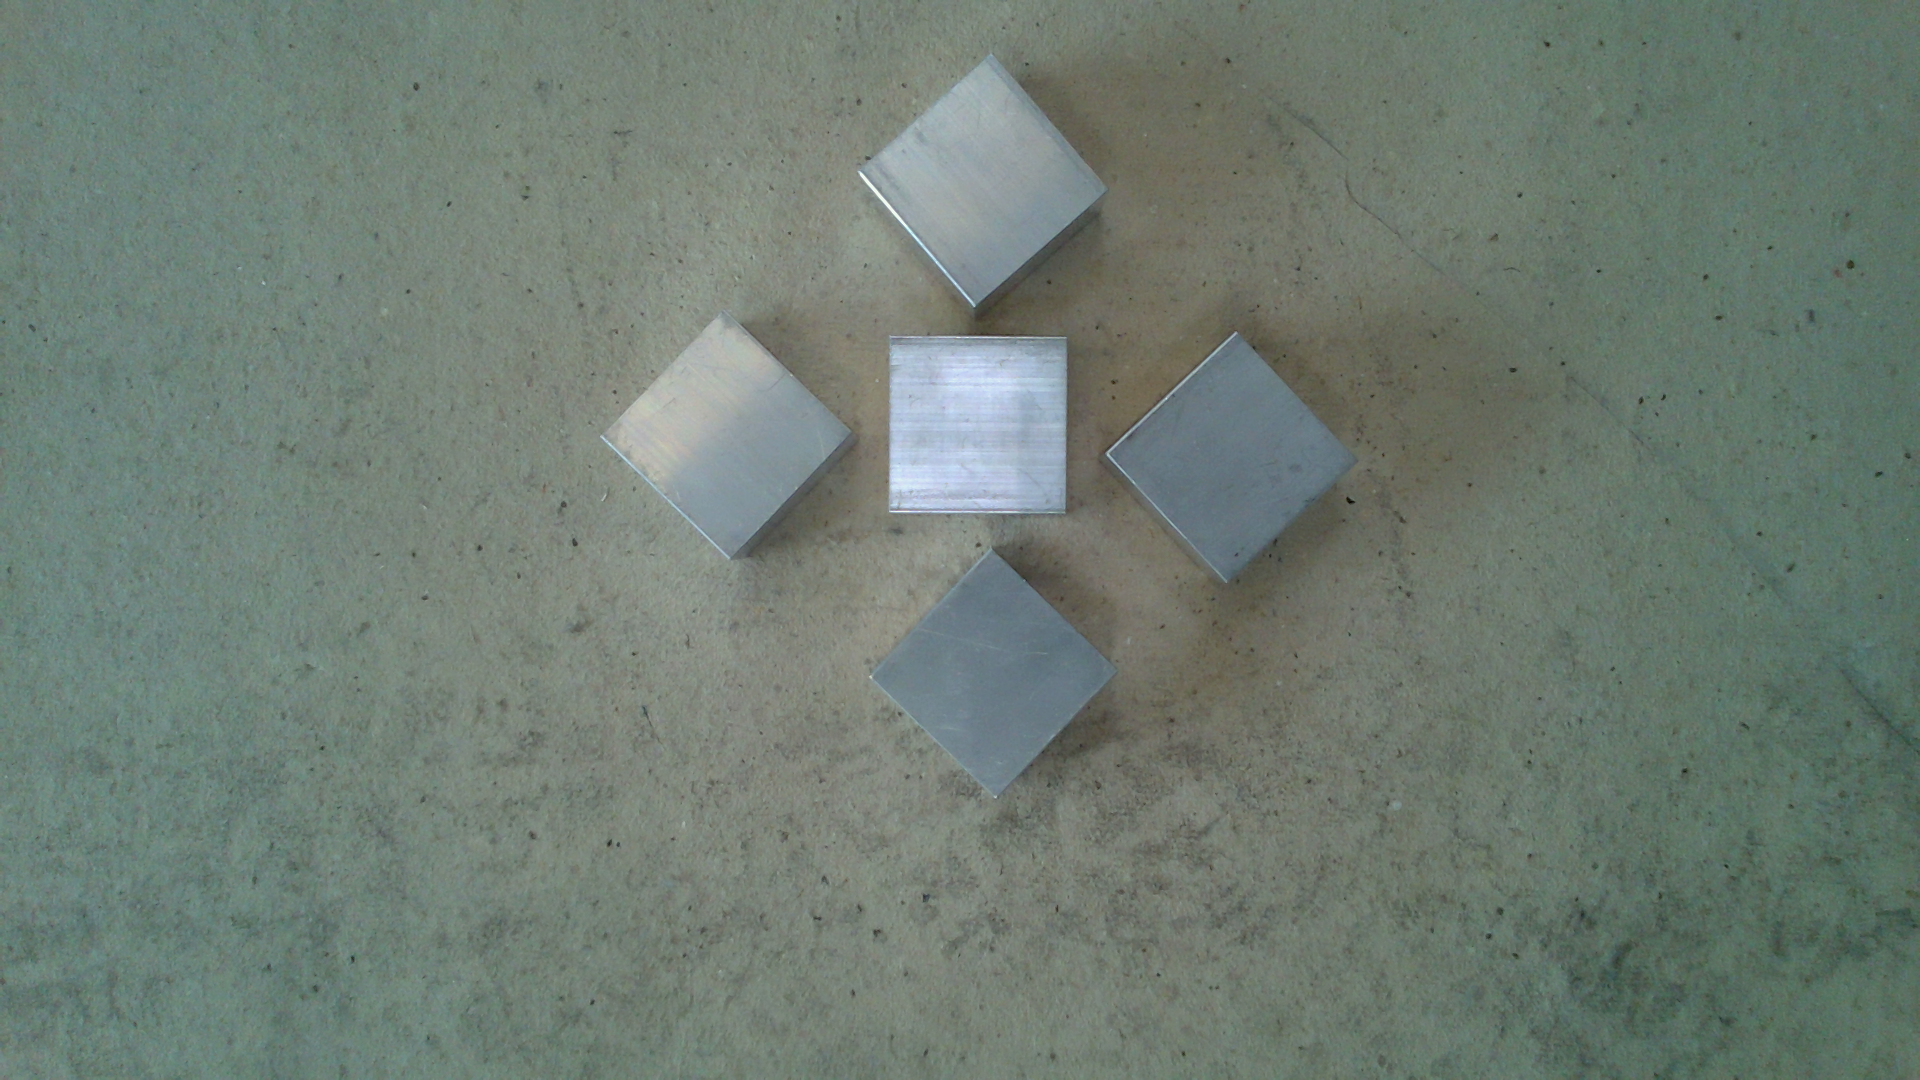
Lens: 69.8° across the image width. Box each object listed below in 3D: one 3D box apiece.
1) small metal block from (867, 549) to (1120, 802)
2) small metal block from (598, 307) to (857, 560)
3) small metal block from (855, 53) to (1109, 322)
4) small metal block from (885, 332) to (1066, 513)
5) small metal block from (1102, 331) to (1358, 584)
[{"bbox_3d":[0.009,0.038,0.396,0.050,0.025,0.050,44,89,-1],"label":"small metal block"},{"bbox_3d":[-0.066,-0.030,0.395,0.050,0.025,0.050,43,89,0],"label":"small metal block"},{"bbox_3d":[0.006,-0.100,0.395,0.050,0.025,0.050,-41,90,-1],"label":"small metal block"},{"bbox_3d":[0.005,-0.033,0.395,0.050,0.025,0.050,0,90,0],"label":"small metal block"},{"bbox_3d":[0.076,-0.023,0.396,0.050,0.025,0.050,-43,90,0],"label":"small metal block"}]
